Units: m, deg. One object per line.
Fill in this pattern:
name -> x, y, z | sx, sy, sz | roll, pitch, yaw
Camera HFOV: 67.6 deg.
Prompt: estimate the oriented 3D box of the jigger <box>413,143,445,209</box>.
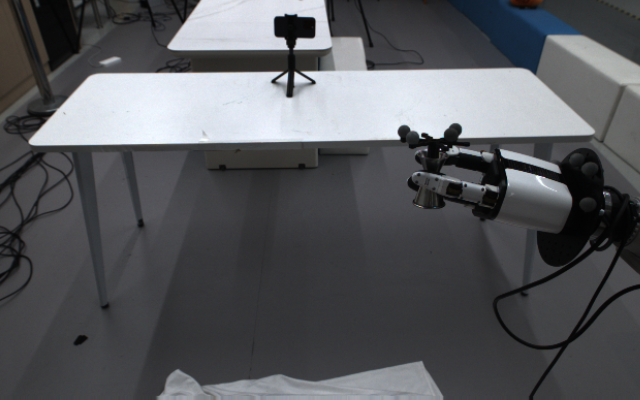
jigger -> 0.146, -0.027, 0.642 | 0.043, 0.071, 0.043 | 0, 21, 0
